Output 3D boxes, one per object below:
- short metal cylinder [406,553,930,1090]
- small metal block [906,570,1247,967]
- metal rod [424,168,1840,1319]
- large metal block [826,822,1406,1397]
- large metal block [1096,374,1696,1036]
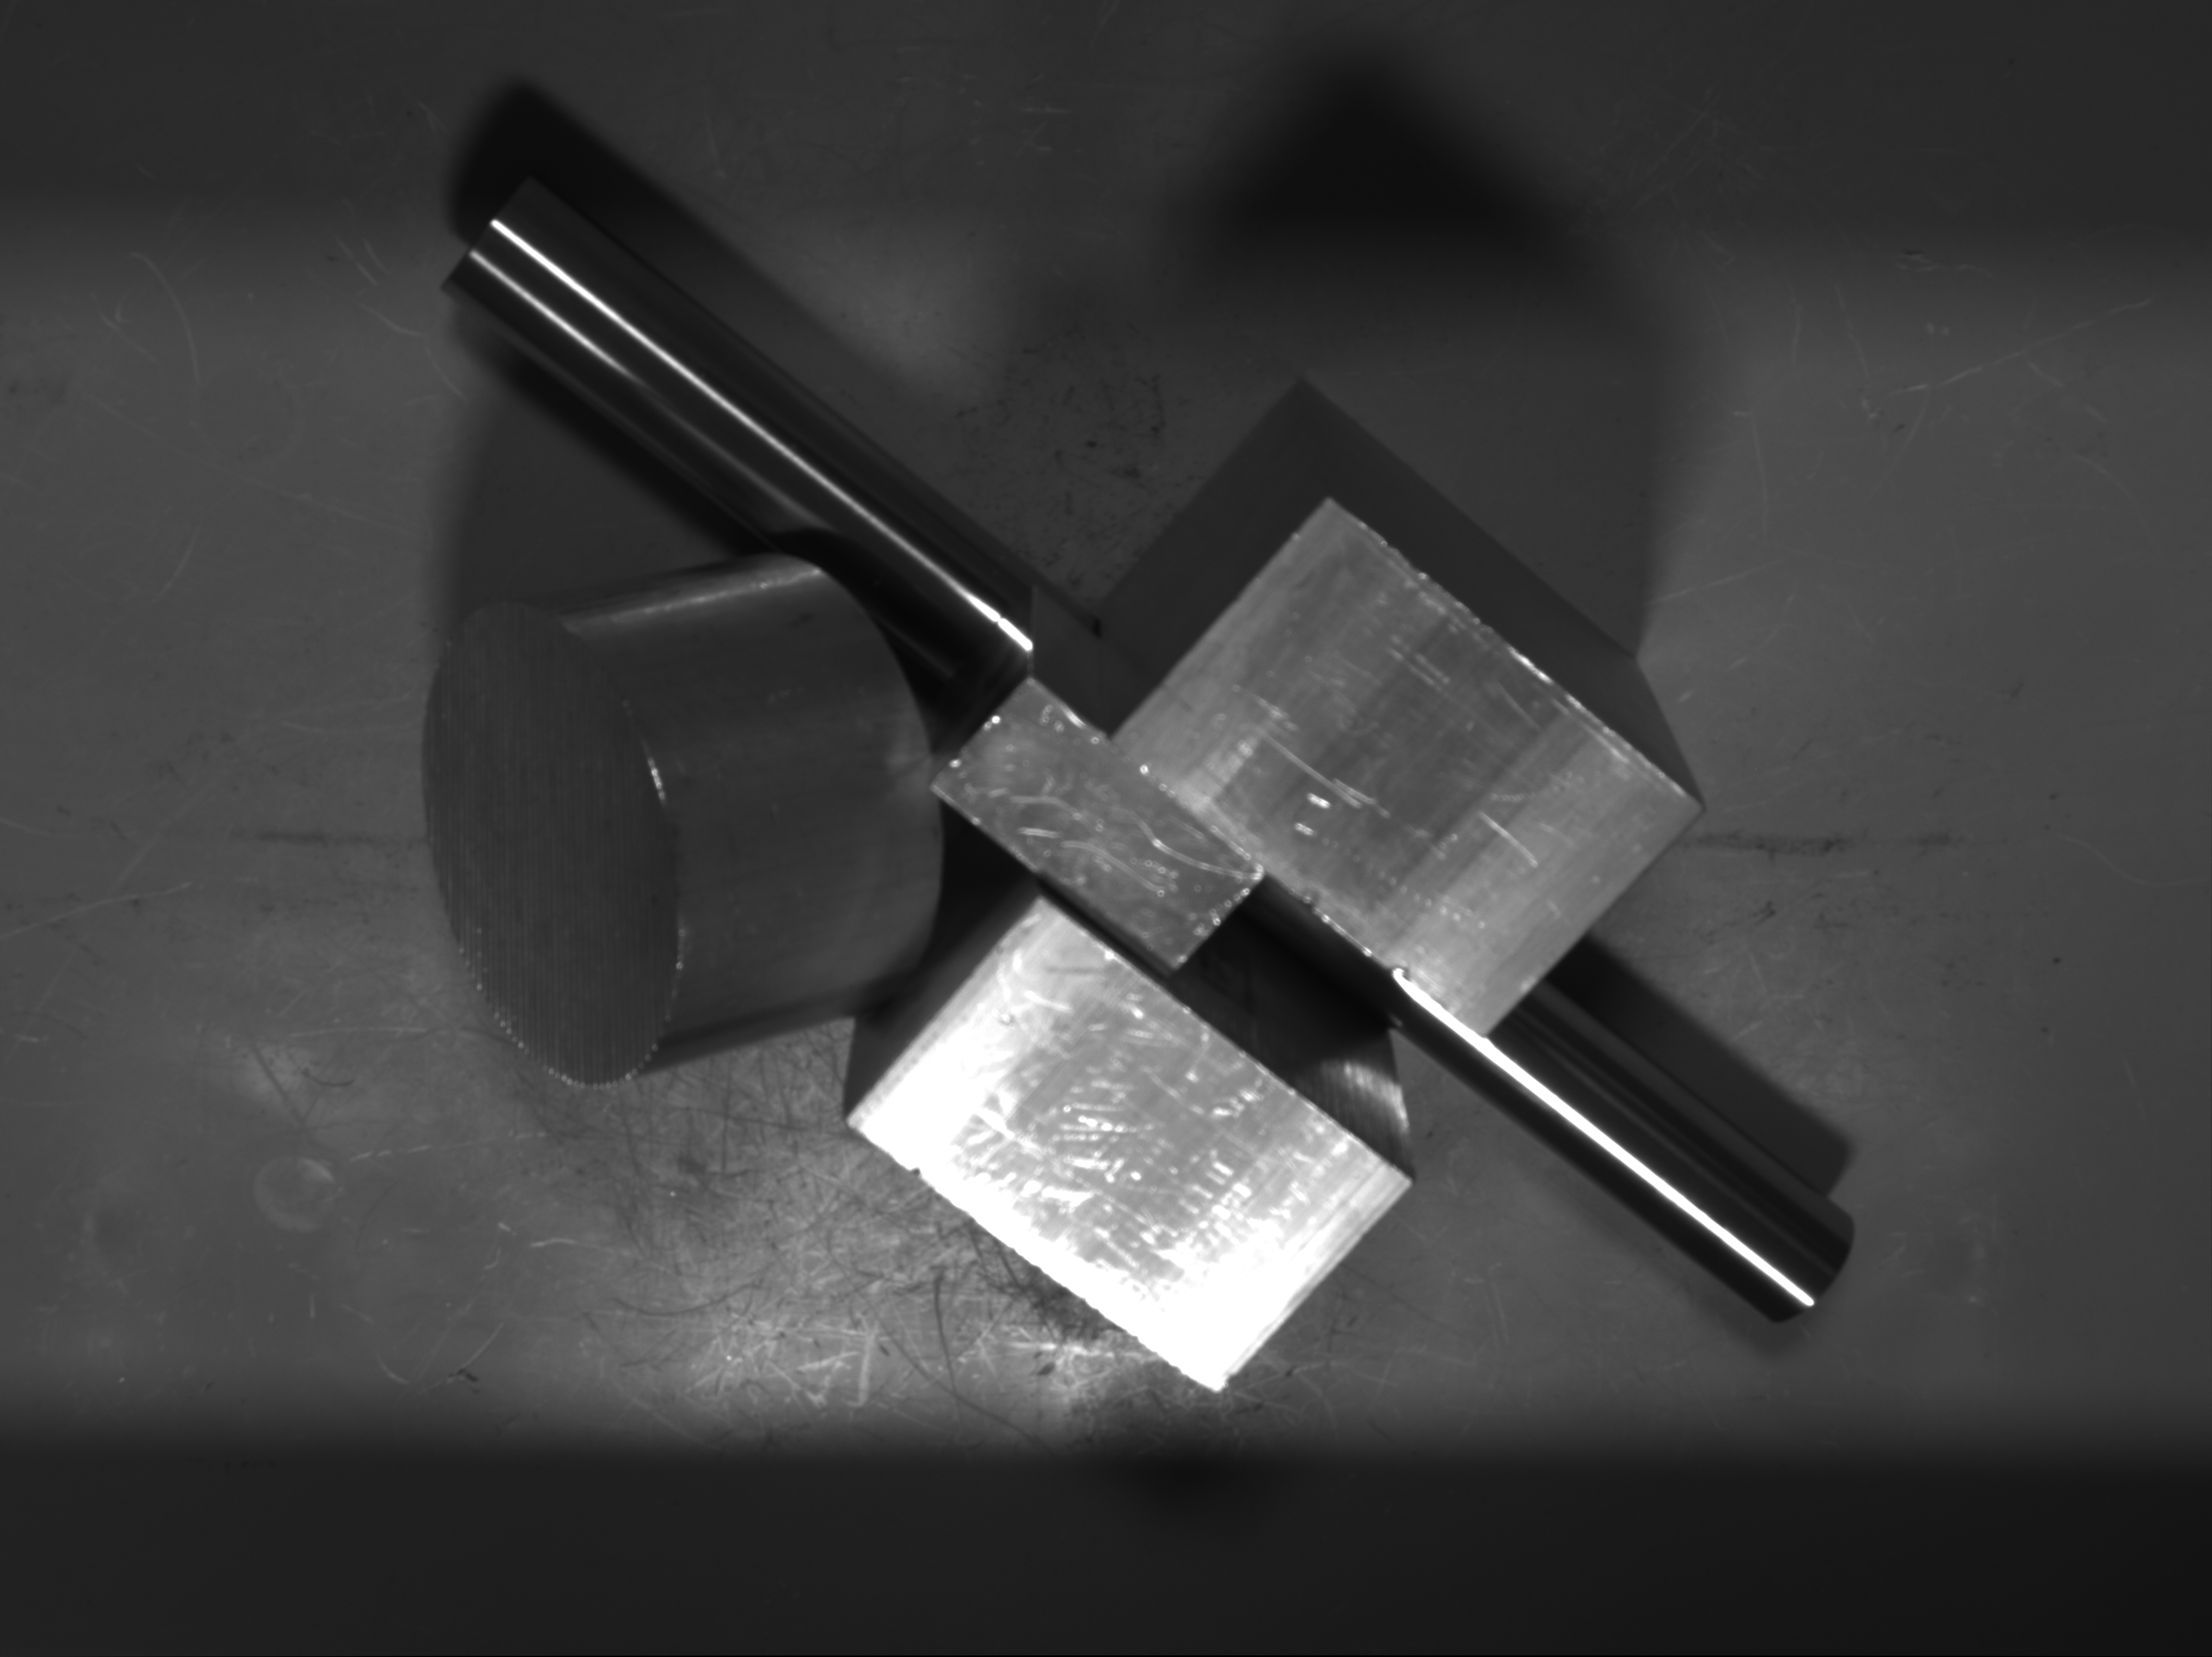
[{"bbox_3d":[-0.073,-0.002,0.605,0.050,0.080,0.080,-15,115,-37],"label":"short metal cylinder"},{"bbox_3d":[-0.004,-0.011,0.600,0.050,0.050,0.025,39,105,-13],"label":"small metal block"},{"bbox_3d":[0.010,-0.010,0.640,0.300,0.025,0.025,38,105,-13],"label":"metal rod"},{"bbox_3d":[0.002,0.038,0.627,0.080,0.080,0.050,38,105,-13],"label":"large metal block"},{"bbox_3d":[0.045,-0.023,0.606,0.080,0.080,0.050,39,105,-13],"label":"large metal block"}]
